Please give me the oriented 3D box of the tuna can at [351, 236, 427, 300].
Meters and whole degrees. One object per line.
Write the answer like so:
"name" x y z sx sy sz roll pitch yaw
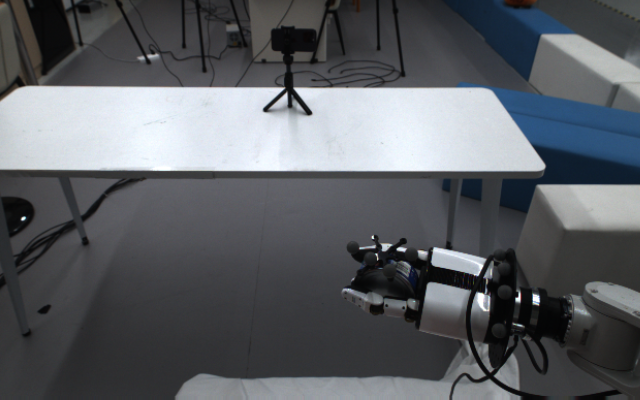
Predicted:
"tuna can" 0.094 0.113 0.668 0.085 0.085 0.034 14 41 16
